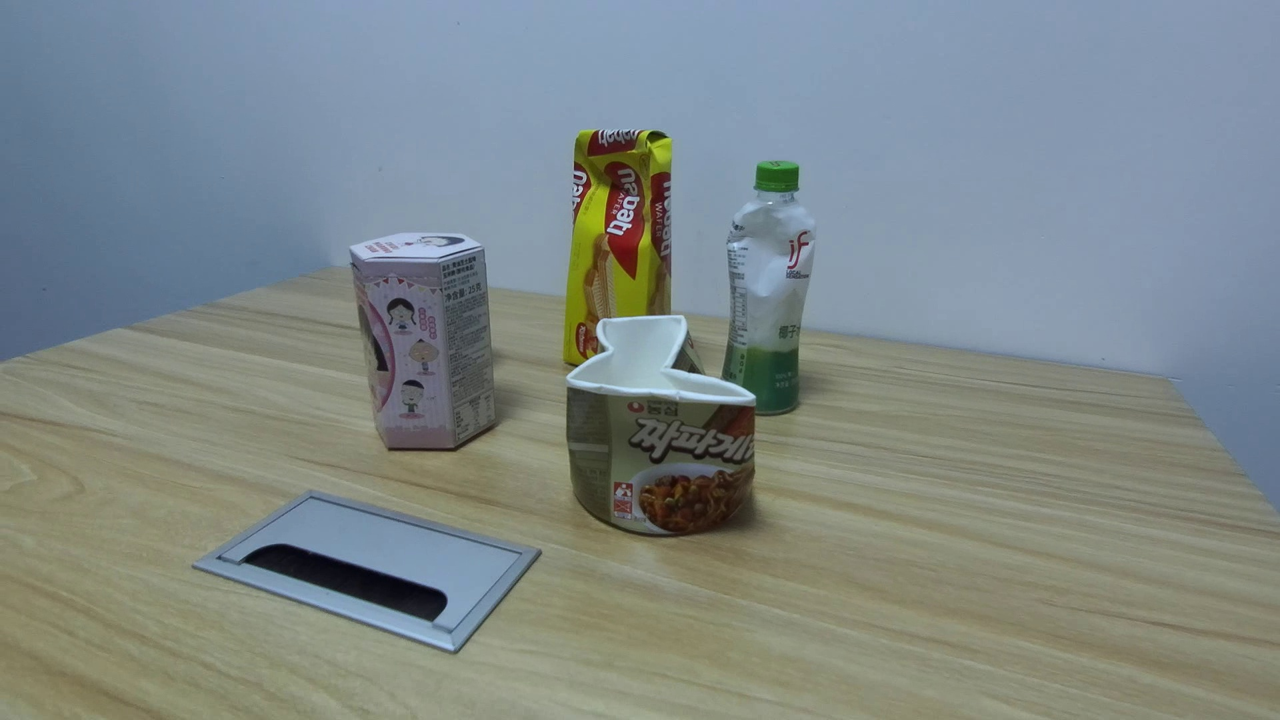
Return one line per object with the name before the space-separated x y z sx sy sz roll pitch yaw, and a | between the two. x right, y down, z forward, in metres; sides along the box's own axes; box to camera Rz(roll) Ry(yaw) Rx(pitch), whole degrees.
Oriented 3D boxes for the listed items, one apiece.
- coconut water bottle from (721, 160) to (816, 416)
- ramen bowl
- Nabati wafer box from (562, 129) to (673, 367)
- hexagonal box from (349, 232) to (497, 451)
coconut water bottle | 0.098 -0.054 0.538 0.069 0.187 0.069 2 21 -1
ramen bowl | 0.015 0.035 0.437 0.111 0.093 0.128 4 22 6
Nabati wafer box | -0.019 -0.085 0.594 0.113 0.205 0.043 14 23 35
hexagonal box | -0.151 -0.014 0.498 0.084 0.136 0.091 -11 24 -30
